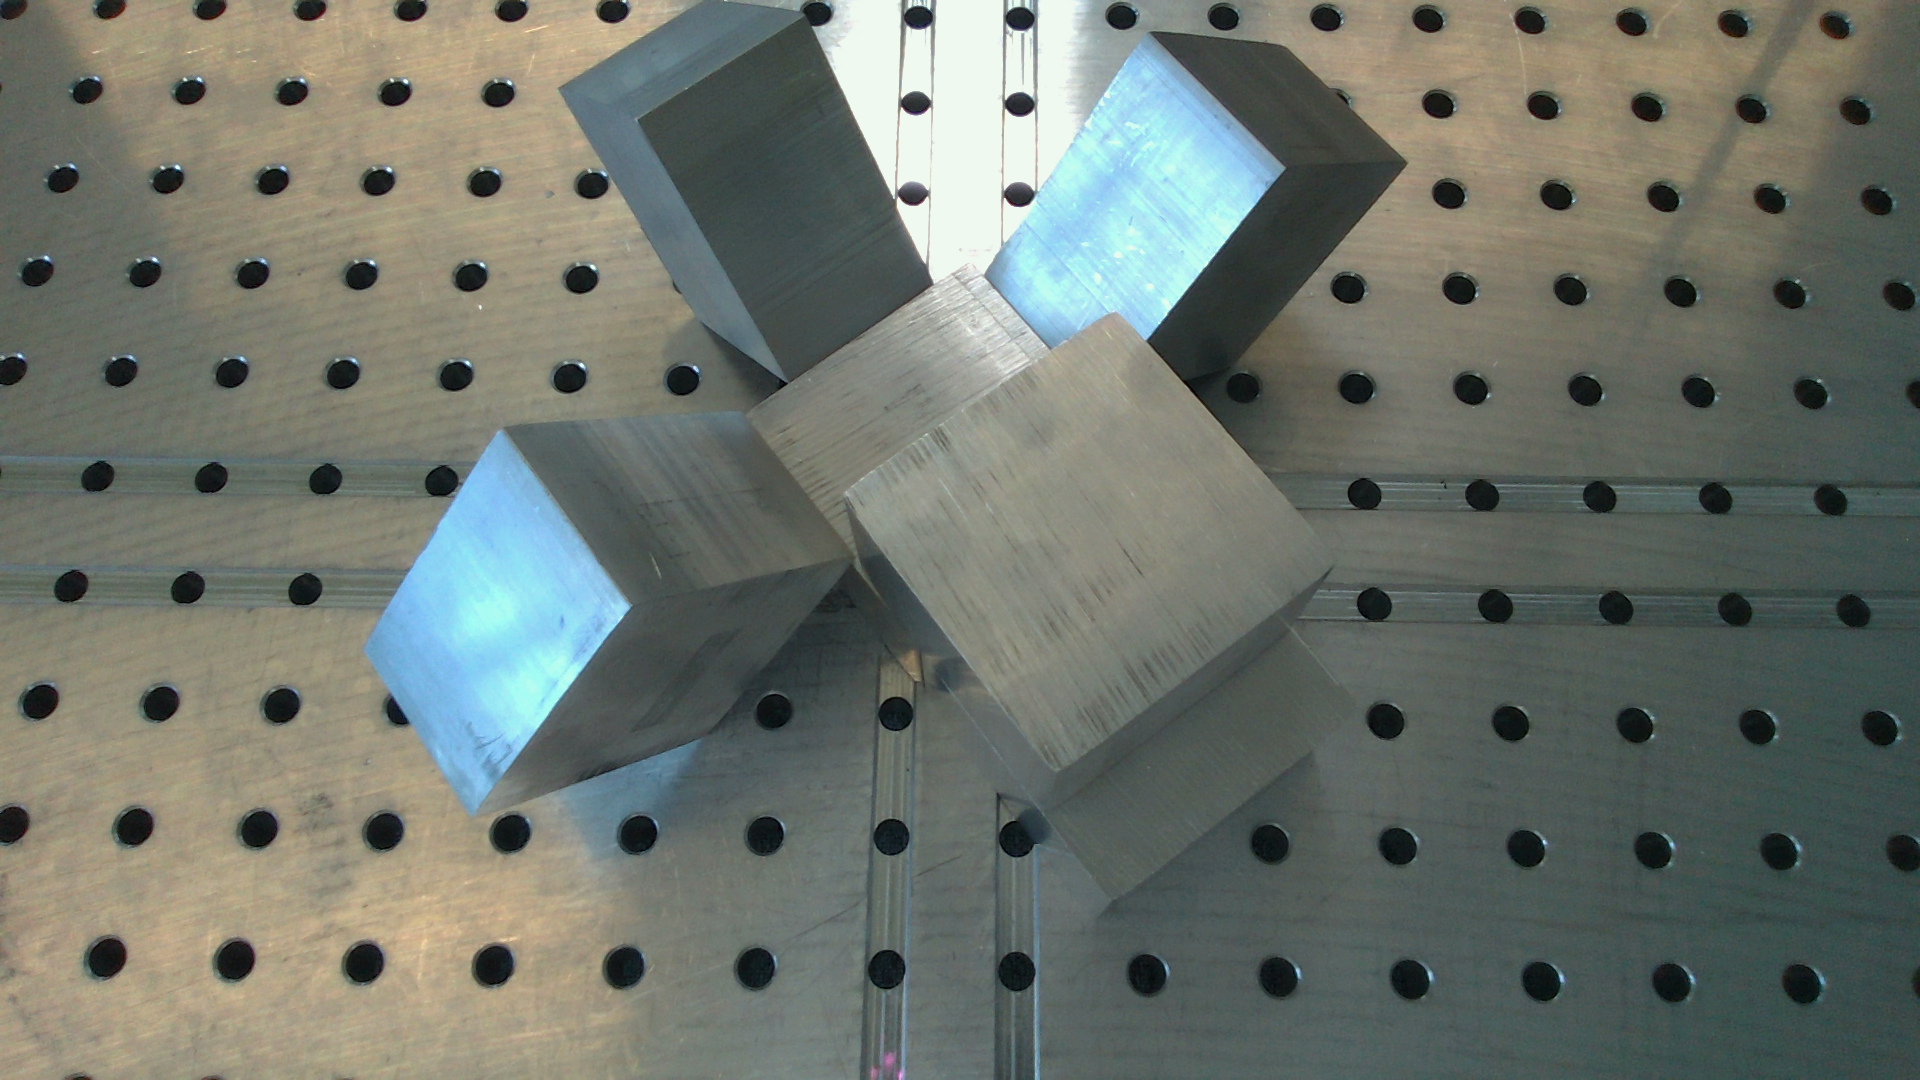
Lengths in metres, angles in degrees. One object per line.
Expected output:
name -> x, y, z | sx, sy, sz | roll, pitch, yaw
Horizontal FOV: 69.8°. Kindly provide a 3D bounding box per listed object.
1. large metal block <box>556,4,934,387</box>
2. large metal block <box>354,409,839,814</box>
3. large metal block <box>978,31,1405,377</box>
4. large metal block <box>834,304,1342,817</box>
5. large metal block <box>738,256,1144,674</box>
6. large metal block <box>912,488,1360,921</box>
large metal block -> -0.062, -0.099, 0.388 | 0.050, 0.080, 0.080 | -36, 35, -12
large metal block -> -0.089, 0.015, 0.346 | 0.050, 0.080, 0.080 | 50, 119, 17
large metal block -> 0.065, -0.090, 0.384 | 0.050, 0.080, 0.080 | 50, 37, 16
large metal block -> 0.028, 0.006, 0.327 | 0.080, 0.050, 0.080 | -35, 74, -13
large metal block -> -0.005, -0.018, 0.391 | 0.080, 0.050, 0.080 | -36, 74, -12
large metal block -> 0.044, 0.043, 0.367 | 0.080, 0.050, 0.080 | -35, 72, -13
